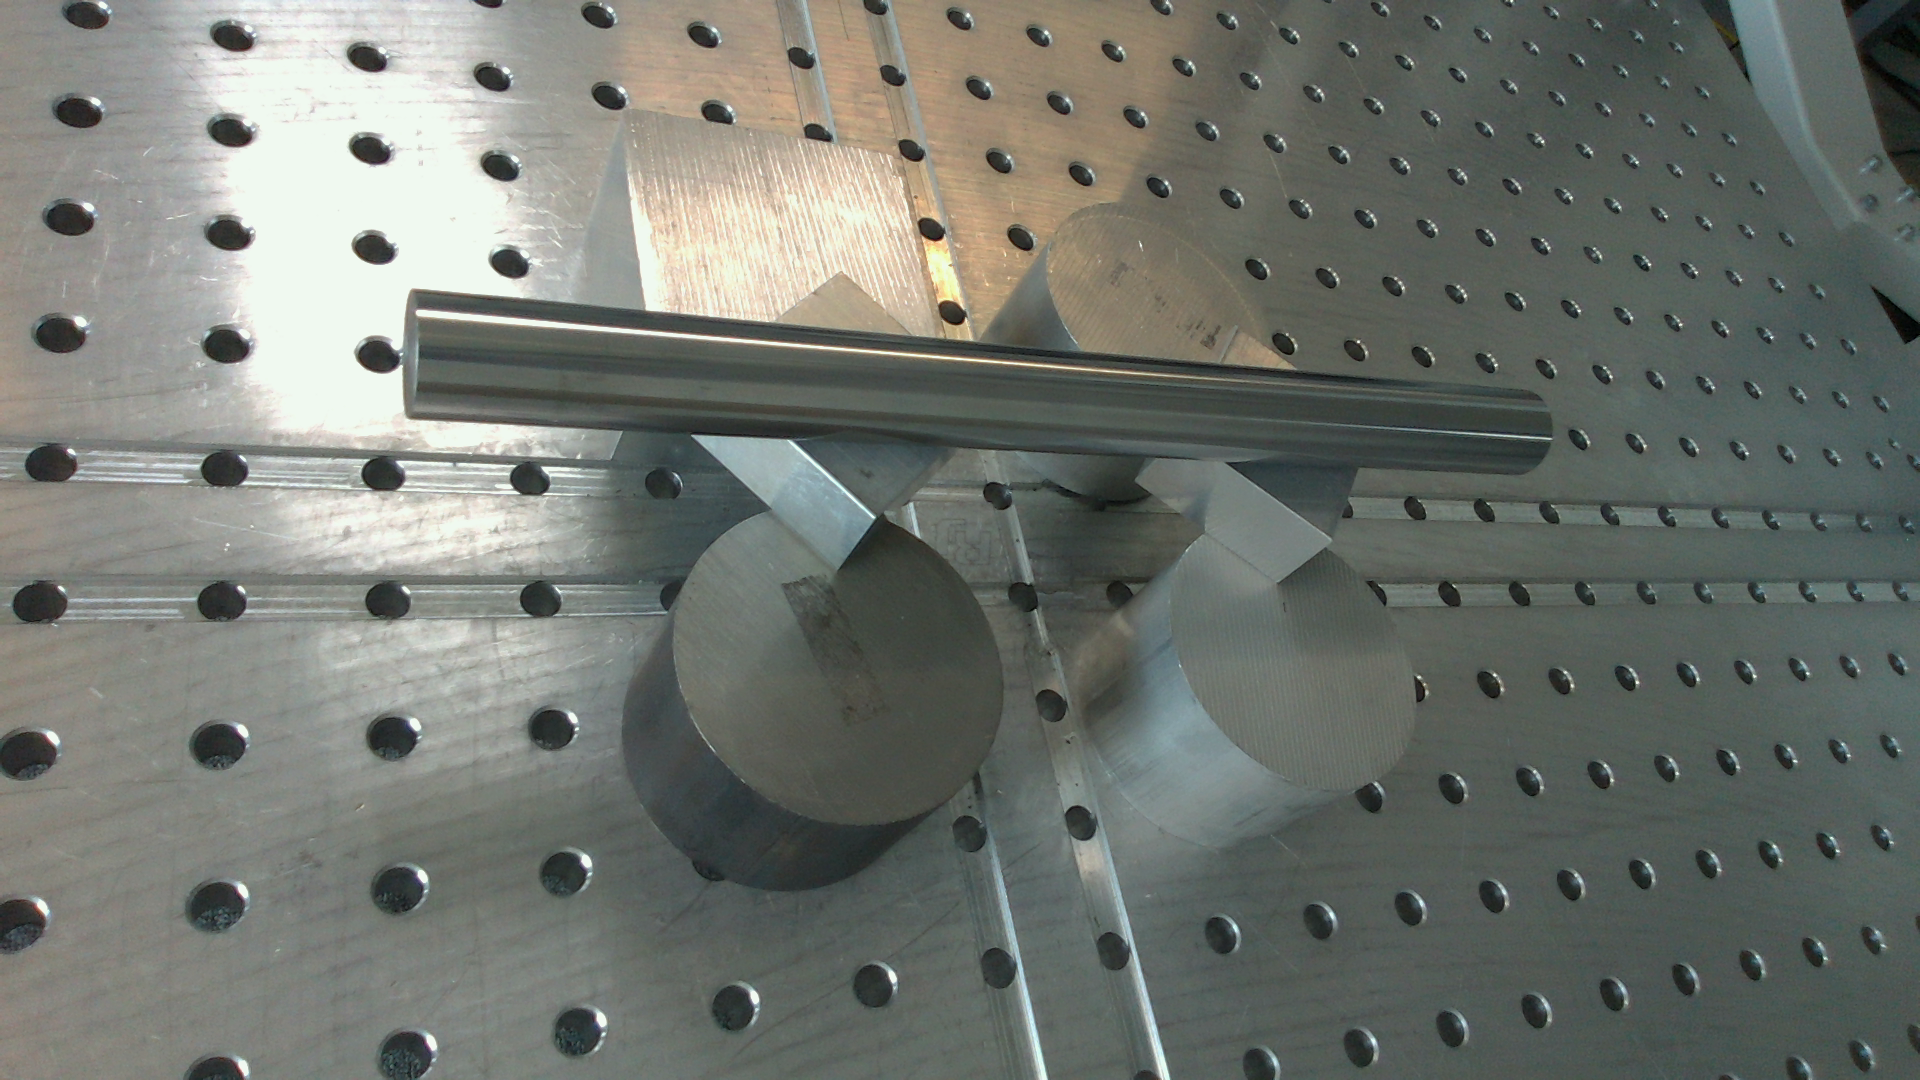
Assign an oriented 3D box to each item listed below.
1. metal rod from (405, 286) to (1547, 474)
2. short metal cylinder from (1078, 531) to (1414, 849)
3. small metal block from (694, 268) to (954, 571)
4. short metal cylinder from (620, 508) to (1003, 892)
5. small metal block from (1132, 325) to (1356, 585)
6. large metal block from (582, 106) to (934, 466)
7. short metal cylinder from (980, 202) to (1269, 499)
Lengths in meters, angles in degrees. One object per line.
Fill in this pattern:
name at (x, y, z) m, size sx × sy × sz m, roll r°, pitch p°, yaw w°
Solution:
metal rod at (0.028, -0.034, 0.331) m, size 0.301 × 0.025 × 0.025 m, roll 1°, pitch 61°, yaw -28°
short metal cylinder at (0.081, 0.042, 0.395) m, size 0.080 × 0.050 × 0.080 m, roll 14°, pitch 56°, yaw -21°
small metal block at (-0.030, -0.030, 0.331) m, size 0.050 × 0.025 × 0.050 m, roll 43°, pitch 51°, yaw 1°
short metal cylinder at (-0.036, 0.038, 0.332) m, size 0.080 × 0.050 × 0.080 m, roll 14°, pitch 56°, yaw -21°
small metal block at (0.083, -0.024, 0.389) m, size 0.050 × 0.025 × 0.050 m, roll 35°, pitch 51°, yaw -5°
large metal block at (-0.057, -0.067, 0.386) m, size 0.080 × 0.050 × 0.080 m, roll 1°, pitch 61°, yaw -28°
short metal cylinder at (0.051, -0.060, 0.441) m, size 0.080 × 0.050 × 0.080 m, roll 14°, pitch 56°, yaw -21°
